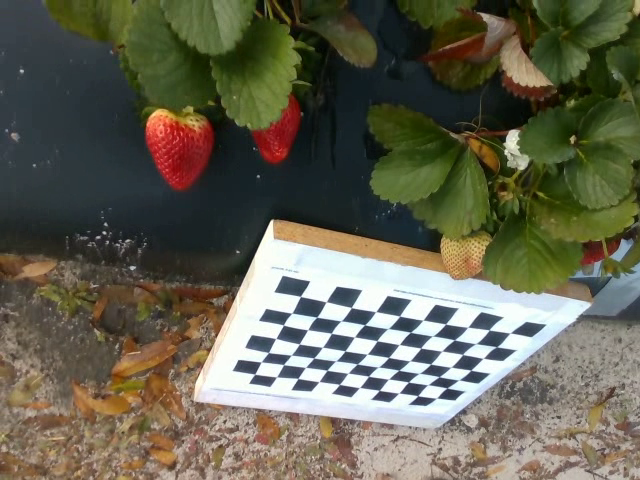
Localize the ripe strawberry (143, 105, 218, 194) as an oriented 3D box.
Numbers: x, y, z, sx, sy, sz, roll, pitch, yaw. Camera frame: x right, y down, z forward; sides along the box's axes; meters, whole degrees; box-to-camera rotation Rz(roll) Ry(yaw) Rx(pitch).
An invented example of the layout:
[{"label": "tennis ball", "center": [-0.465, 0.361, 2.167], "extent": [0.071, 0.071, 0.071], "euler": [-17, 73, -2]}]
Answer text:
[{"label": "ripe strawberry", "center": [-0.097, -0.061, 0.416], "extent": [0.050, 0.061, 0.045], "euler": [7, 11, -6]}]

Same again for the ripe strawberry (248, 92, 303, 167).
[{"label": "ripe strawberry", "center": [-0.032, -0.076, 0.413], "extent": [0.042, 0.053, 0.034], "euler": [4, 15, -2]}]
